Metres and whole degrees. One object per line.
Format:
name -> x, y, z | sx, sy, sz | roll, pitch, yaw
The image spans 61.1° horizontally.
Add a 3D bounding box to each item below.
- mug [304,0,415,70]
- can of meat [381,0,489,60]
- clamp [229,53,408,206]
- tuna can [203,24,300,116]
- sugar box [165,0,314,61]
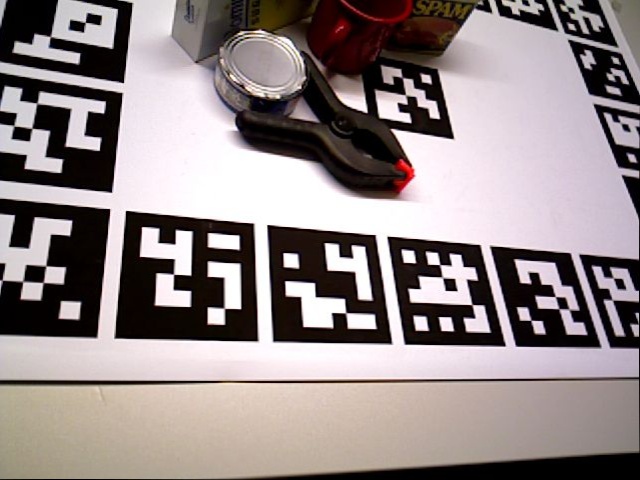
mug -> 0.030, -0.218, 0.536 | 0.093, 0.083, 0.115 | 28, 59, -8
can of meat -> 0.116, -0.250, 0.596 | 0.100, 0.086, 0.057 | -2, 64, -25
clamp -> 0.011, -0.092, 0.504 | 0.165, 0.037, 0.119 | 39, 53, -5
tuna can -> -0.063, -0.152, 0.497 | 0.085, 0.034, 0.085 | 8, 64, -18
sugar box -> -0.058, -0.240, 0.514 | 0.172, 0.095, 0.045 | -34, 79, -33
